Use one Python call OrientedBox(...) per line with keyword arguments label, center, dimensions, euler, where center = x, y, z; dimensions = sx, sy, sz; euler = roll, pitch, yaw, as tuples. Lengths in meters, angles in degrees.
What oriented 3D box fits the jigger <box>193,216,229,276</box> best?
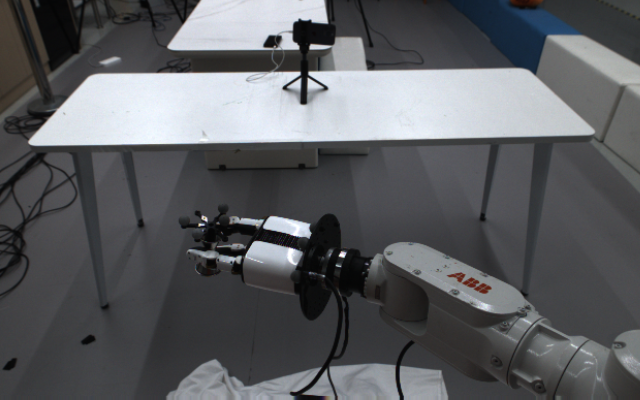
OrientedBox(label="jigger", center=(-0.177, 0.083, 0.776), dimensions=(0.043, 0.071, 0.043), euler=(8, 31, -5))
